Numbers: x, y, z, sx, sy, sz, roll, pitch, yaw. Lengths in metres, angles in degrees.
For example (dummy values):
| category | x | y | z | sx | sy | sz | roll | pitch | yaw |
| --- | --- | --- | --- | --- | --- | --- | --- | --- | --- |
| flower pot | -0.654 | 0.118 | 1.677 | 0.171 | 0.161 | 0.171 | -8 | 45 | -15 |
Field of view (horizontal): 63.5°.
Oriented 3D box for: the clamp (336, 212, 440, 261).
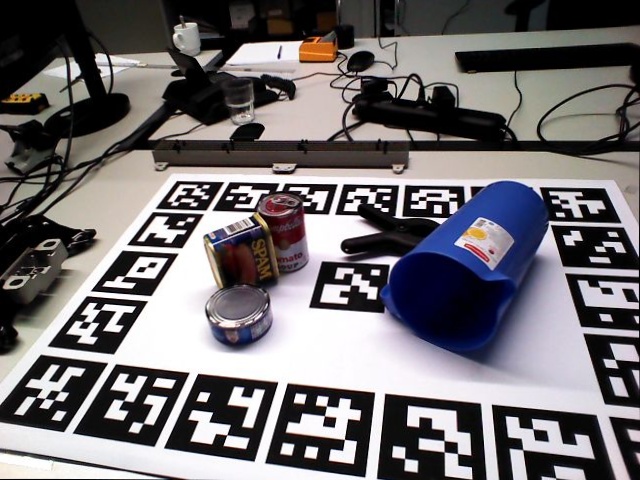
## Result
| category | x | y | z | sx | sy | sz | roll | pitch | yaw |
| --- | --- | --- | --- | --- | --- | --- | --- | --- | --- |
| clamp | 0.117 | -0.001 | 0.804 | 0.166 | 0.037 | 0.121 | 6 | 34 | 12 |

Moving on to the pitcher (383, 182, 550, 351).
| category | x | y | z | sx | sy | sz | roll | pitch | yaw |
| --- | --- | --- | --- | --- | --- | --- | --- | --- | --- |
| pitcher | 0.201 | 0.020 | 0.658 | 0.190 | 0.133 | 0.241 | -6 | 23 | 41 |

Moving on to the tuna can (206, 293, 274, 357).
| category | x | y | z | sx | sy | sz | roll | pitch | yaw |
| --- | --- | --- | --- | --- | --- | --- | --- | --- | --- |
| tuna can | -0.104 | 0.111 | 0.678 | 0.086 | 0.034 | 0.085 | -5 | 38 | 4 |

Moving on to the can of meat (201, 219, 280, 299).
| category | x | y | z | sx | sy | sz | roll | pitch | yaw |
| --- | --- | --- | --- | --- | --- | --- | --- | --- | --- |
| can of meat | -0.111 | 0.032 | 0.723 | 0.083 | 0.102 | 0.058 | -23 | 40 | -14 |

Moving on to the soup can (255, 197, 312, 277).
| category | x | y | z | sx | sy | sz | roll | pitch | yaw |
| --- | --- | --- | --- | --- | --- | --- | --- | --- | --- |
| soup can | -0.052 | -0.004 | 0.768 | 0.068 | 0.102 | 0.067 | -7 | 38 | 5 |
